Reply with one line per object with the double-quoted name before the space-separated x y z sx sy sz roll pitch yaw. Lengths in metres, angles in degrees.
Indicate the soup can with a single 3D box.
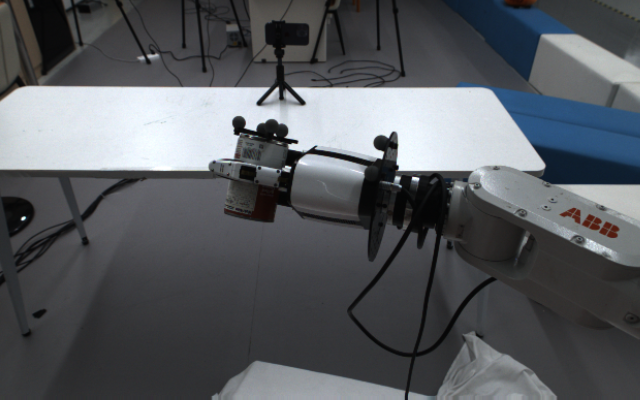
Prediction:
"soup can" -0.081 -0.027 0.620 0.067 0.101 0.067 11 2 0
